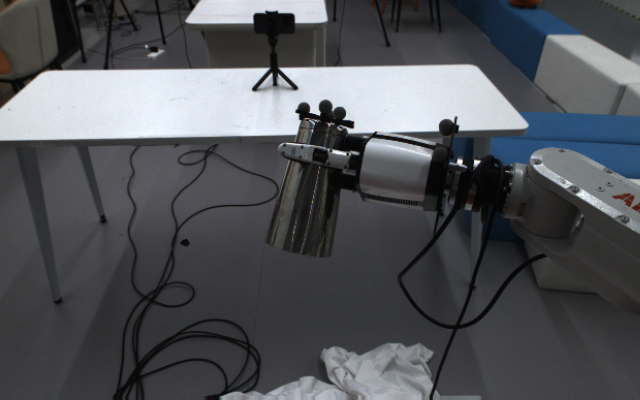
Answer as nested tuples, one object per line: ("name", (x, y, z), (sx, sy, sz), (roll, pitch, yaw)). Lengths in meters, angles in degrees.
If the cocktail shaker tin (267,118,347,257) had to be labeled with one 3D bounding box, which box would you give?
("cocktail shaker tin", (-0.010, -0.020, 0.656), (0.093, 0.170, 0.093), (13, 3, -1))
